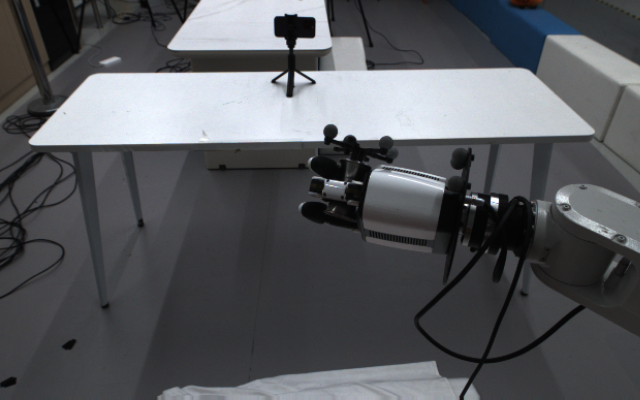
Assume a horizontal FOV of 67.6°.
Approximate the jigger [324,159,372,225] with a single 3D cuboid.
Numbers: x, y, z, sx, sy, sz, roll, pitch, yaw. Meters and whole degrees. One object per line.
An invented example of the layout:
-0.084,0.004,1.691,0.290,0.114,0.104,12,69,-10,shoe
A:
0.037,-0.011,0.585,0.043,0.071,0.043,15,-7,2,jigger
